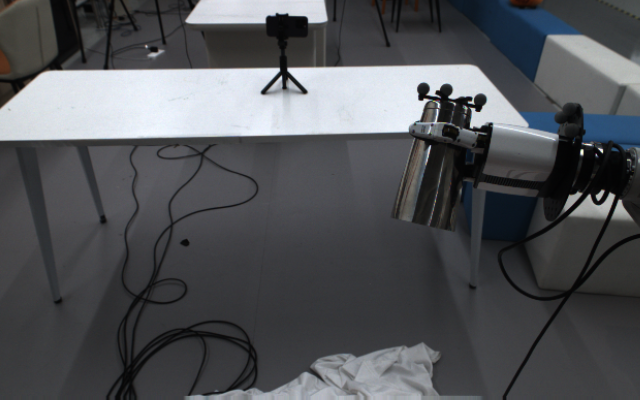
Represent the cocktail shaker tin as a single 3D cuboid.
[{"bbox_3d":[0.166,-0.052,0.685,0.093,0.170,0.093,13,1,0],"label":"cocktail shaker tin"}]
